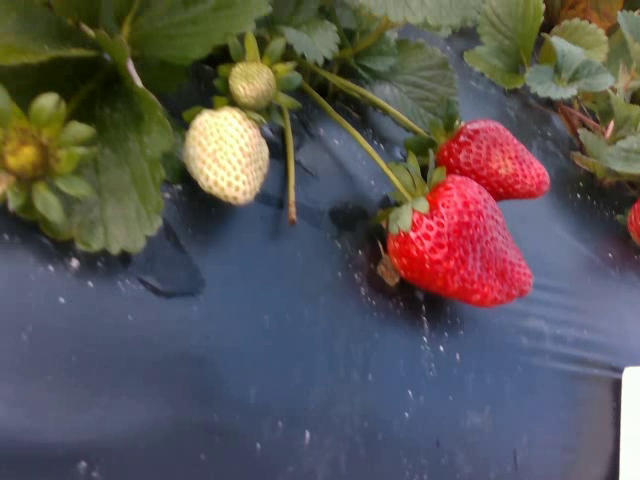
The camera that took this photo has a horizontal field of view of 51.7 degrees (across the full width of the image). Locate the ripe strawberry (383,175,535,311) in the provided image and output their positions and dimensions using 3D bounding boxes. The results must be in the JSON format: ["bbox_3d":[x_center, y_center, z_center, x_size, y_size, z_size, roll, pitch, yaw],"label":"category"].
[{"bbox_3d":[0.062,0.004,0.267,0.065,0.059,0.044,41,-19,1],"label":"ripe strawberry"}]

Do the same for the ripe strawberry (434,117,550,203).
[{"bbox_3d":[0.087,-0.035,0.315,0.059,0.051,0.051,26,-20,29],"label":"ripe strawberry"}]
